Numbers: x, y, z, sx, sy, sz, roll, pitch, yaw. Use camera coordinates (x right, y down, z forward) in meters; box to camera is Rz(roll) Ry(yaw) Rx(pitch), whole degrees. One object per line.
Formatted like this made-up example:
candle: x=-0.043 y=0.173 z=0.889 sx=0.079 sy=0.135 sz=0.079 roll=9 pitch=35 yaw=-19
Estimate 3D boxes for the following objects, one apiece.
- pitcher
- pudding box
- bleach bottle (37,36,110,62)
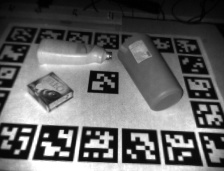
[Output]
pitcher: x=0.127 y=-0.044 z=0.719 sx=0.191 sy=0.132 sz=0.240 roll=8 pitch=47 yaw=-45
pudding box: x=-0.195 y=0.006 z=0.675 sx=0.091 sy=0.039 sz=0.113 roll=-32 pitch=62 yaw=-34
bleach bottle: x=-0.132 y=-0.130 z=0.782 sx=0.251 sy=0.068 sz=0.102 roll=2 pitch=55 yaw=-7
